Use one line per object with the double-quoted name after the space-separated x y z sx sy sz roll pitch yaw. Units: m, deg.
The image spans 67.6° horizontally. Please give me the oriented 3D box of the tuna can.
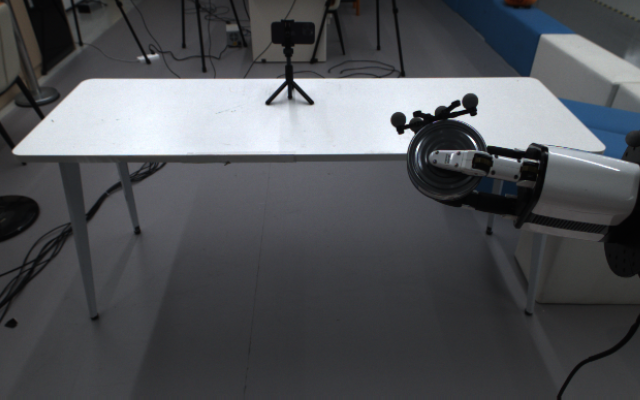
0.140 -0.046 0.529 0.085 0.085 0.034 12 -6 14 "tuna can"
